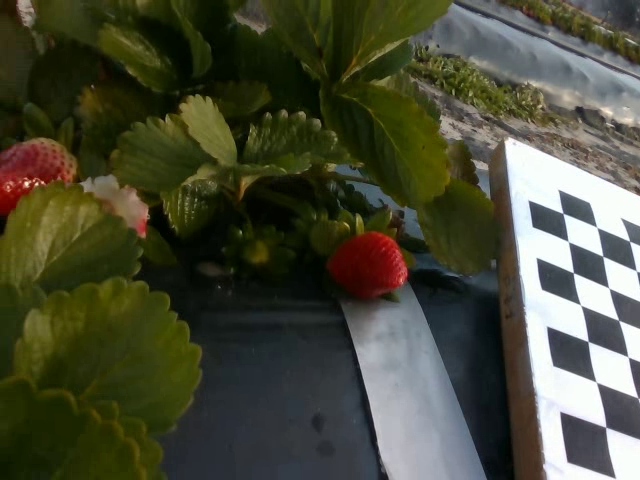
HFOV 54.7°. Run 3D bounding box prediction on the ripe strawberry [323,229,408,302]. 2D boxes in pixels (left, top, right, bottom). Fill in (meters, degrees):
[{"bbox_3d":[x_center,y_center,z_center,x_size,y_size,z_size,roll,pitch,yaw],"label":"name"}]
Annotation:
[{"bbox_3d":[0.028,0.012,0.287,0.050,0.036,0.055,22,26,-18],"label":"ripe strawberry"}]
